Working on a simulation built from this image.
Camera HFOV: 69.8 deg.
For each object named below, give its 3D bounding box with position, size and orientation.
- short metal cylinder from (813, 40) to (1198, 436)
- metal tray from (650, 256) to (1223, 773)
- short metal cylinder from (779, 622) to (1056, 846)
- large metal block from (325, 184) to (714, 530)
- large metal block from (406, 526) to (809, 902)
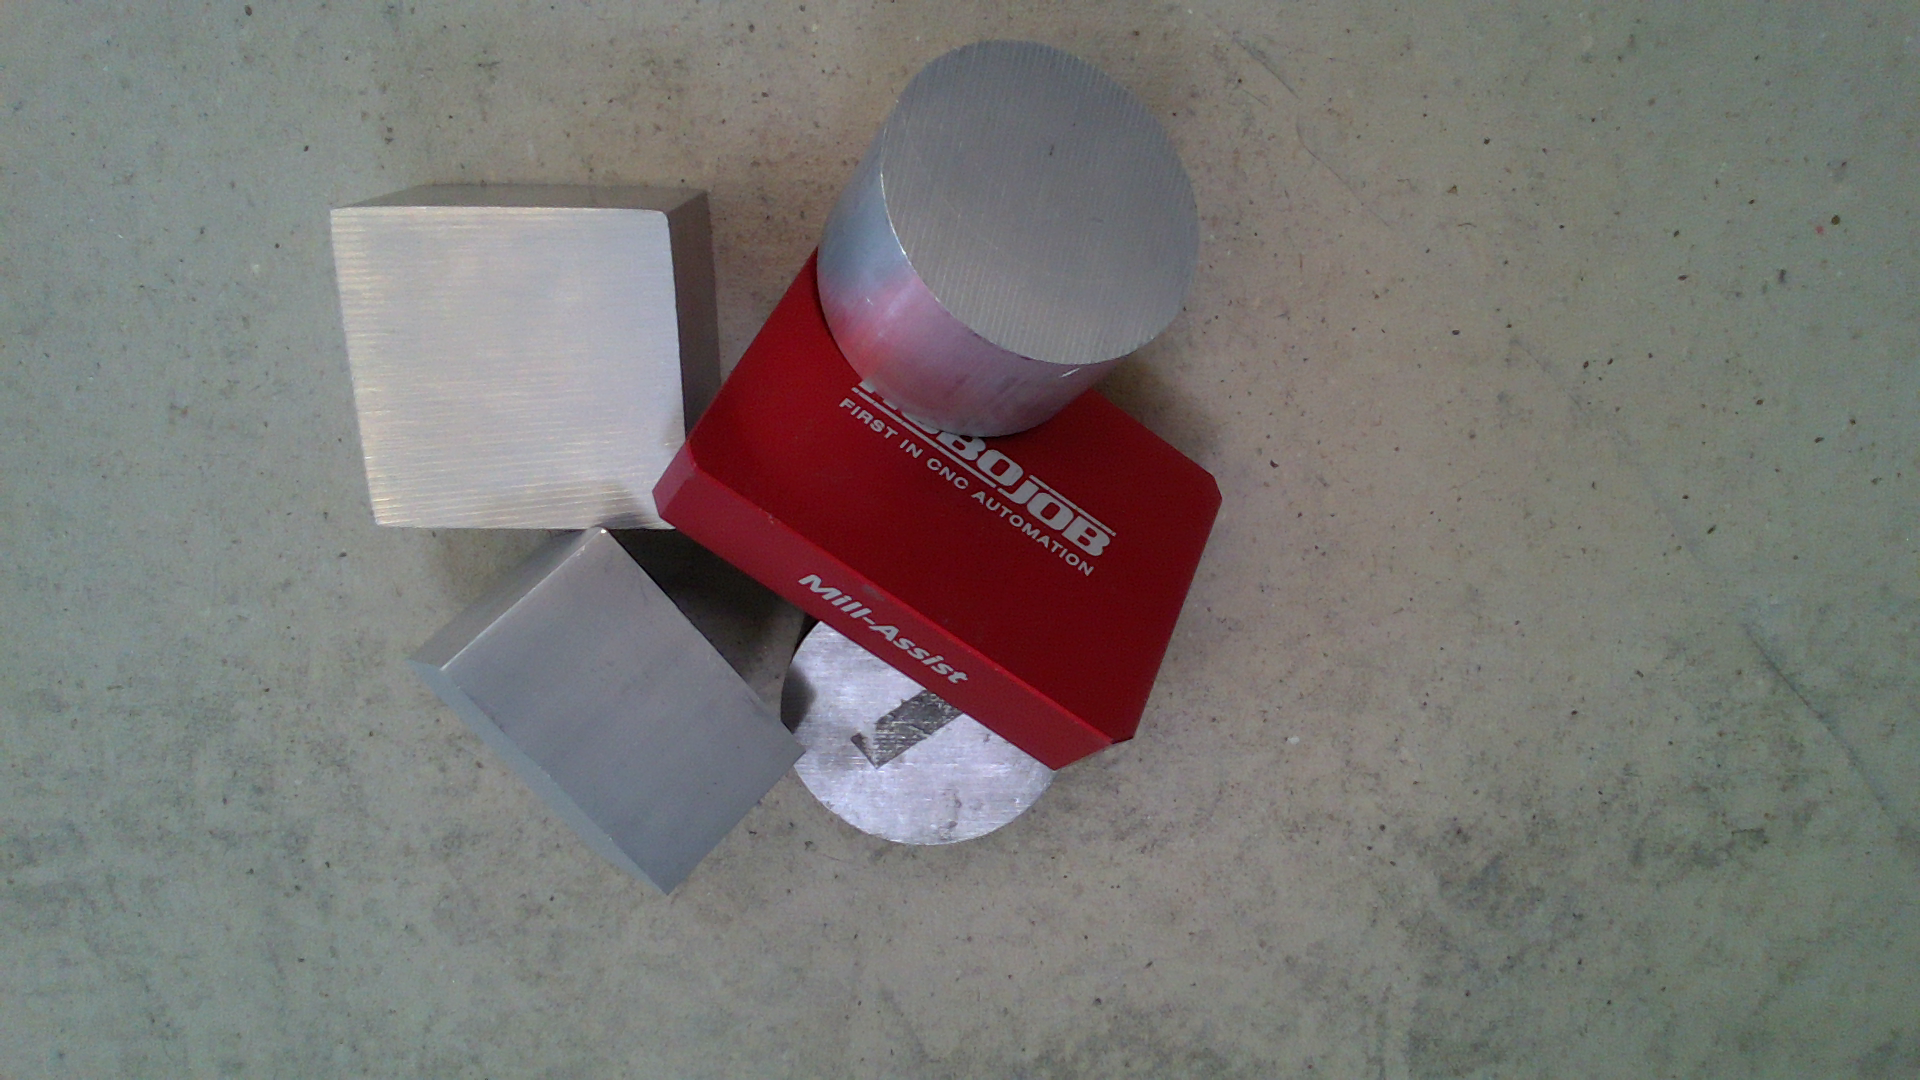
[{"bbox_3d":[0.010,-0.071,0.334,0.080,0.050,0.080,6,74,-22],"label":"short metal cylinder"},{"bbox_3d":[-0.001,-0.011,0.357,0.130,0.090,0.030,34,146,-12],"label":"metal tray"},{"bbox_3d":[-0.009,0.040,0.396,0.080,0.050,0.080,0,110,0],"label":"short metal cylinder"},{"bbox_3d":[-0.109,-0.049,0.360,0.080,0.050,0.080,1,110,0],"label":"large metal block"},{"bbox_3d":[-0.098,0.045,0.373,0.050,0.080,0.080,-46,108,-22],"label":"large metal block"}]
